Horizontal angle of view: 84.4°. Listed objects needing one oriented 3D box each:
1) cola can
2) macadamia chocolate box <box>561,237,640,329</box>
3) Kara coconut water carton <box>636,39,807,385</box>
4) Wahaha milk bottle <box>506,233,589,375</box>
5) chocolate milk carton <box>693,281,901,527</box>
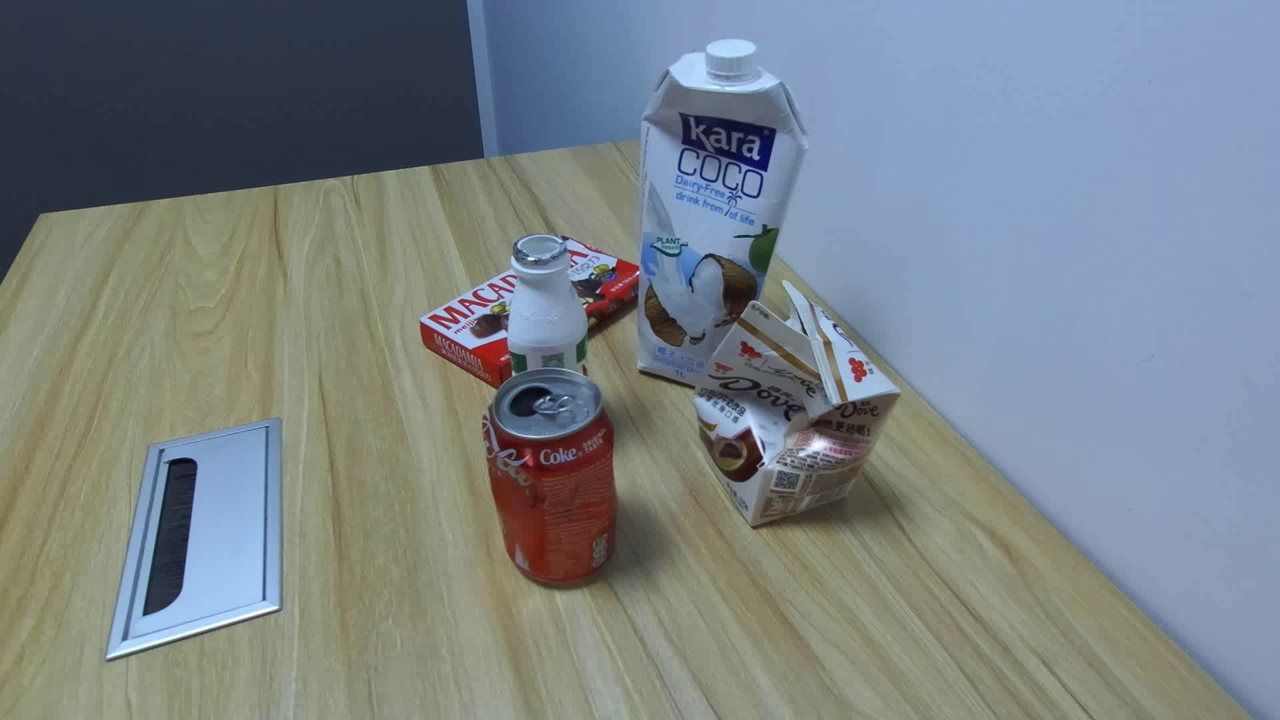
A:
[{"bbox_3d":[-0.045,0.064,0.383,0.066,0.117,0.065,-16,41,-21],"label":"cola can"},{"bbox_3d":[-0.081,-0.047,0.594,0.105,0.028,0.183,26,45,27],"label":"macadamia chocolate box"},{"bbox_3d":[0.047,-0.091,0.480,0.115,0.238,0.069,18,39,16],"label":"Kara coconut water carton"},{"bbox_3d":[-0.059,-0.011,0.447,0.056,0.148,0.056,1,44,-1],"label":"Wahaha milk bottle"},{"bbox_3d":[0.087,0.027,0.411,0.077,0.155,0.089,-19,57,-17],"label":"chocolate milk carton"}]
